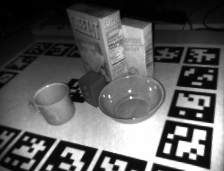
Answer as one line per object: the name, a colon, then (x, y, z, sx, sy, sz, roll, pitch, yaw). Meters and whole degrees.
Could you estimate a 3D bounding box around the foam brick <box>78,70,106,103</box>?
foam brick: (-0.050, 0.000, 0.596, 0.052, 0.079, 0.052, 18, 47, 35)

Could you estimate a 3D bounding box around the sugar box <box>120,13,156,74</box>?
sugar box: (0.068, -0.105, 0.604, 0.091, 0.178, 0.045, 24, 52, 39)

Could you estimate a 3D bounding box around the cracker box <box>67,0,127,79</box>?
cracker box: (-0.041, -0.121, 0.626, 0.072, 0.215, 0.162, -32, 42, -24)

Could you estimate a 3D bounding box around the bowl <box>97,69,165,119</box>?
bowl: (0.048, 0.028, 0.525, 0.161, 0.055, 0.161, -8, 39, 7)

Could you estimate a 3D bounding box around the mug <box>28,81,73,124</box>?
mug: (-0.162, 0.043, 0.558, 0.116, 0.082, 0.093, -1, 32, 18)
